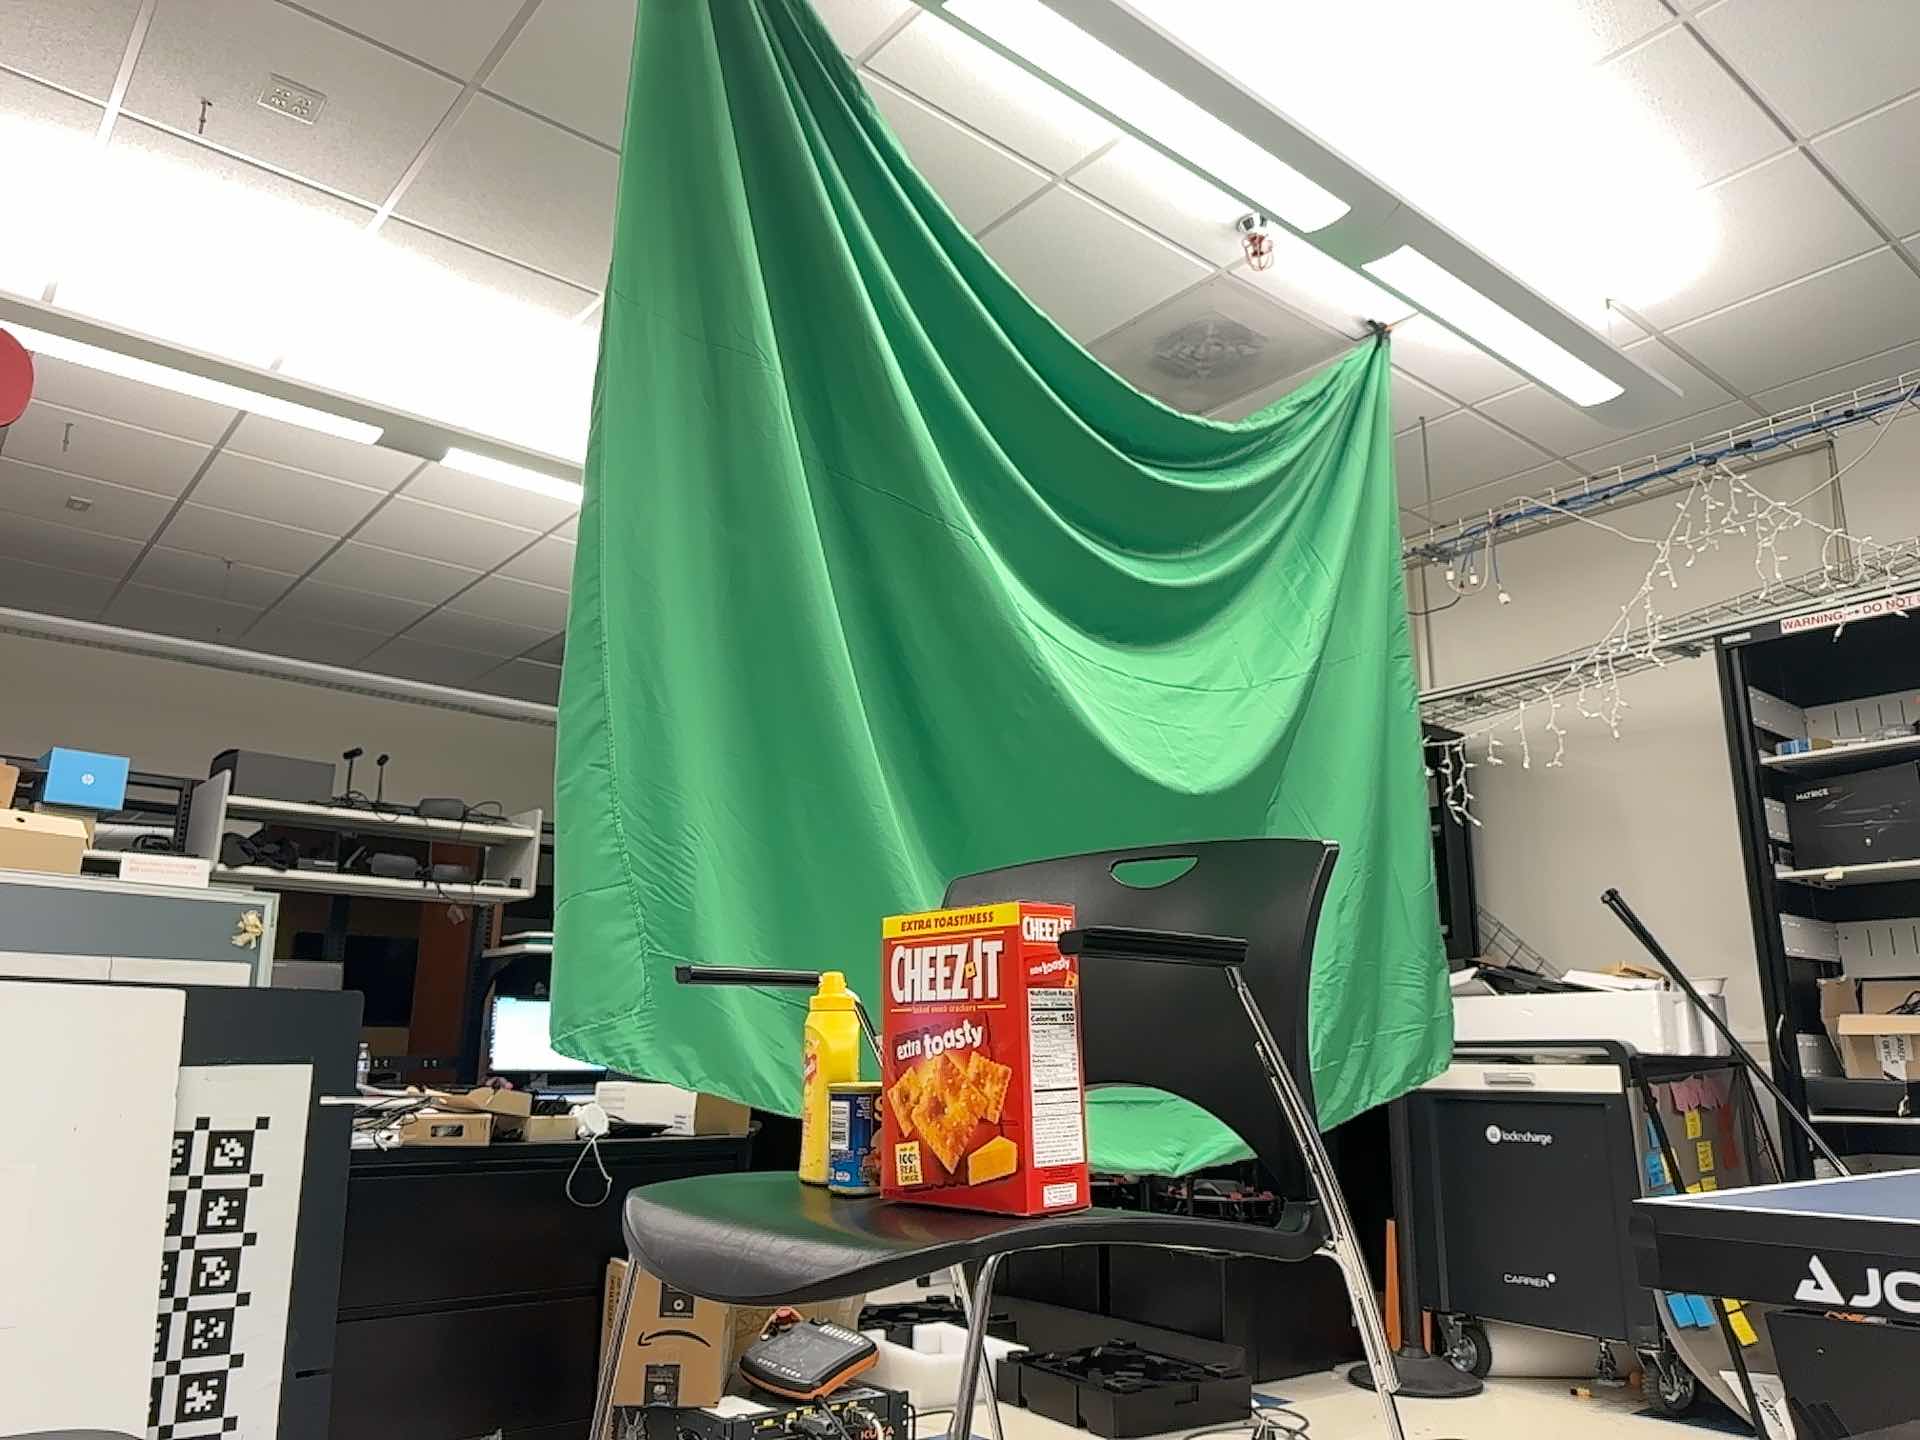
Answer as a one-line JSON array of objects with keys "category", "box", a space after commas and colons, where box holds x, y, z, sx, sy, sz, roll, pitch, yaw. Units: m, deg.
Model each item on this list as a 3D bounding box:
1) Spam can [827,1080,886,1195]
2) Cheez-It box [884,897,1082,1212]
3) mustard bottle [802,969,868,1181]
[{"category": "Spam can", "box": [-0.062, 0.354, 1.156, 0.100, 0.083, 0.056, 6, -12, -36]}, {"category": "Cheez-It box", "box": [0.013, 0.256, 1.046, 0.062, 0.214, 0.159, 10, -16, -37]}, {"category": "mustard bottle", "box": [-0.114, 0.321, 1.238, 0.054, 0.184, 0.092, 3, -11, -22]}]
